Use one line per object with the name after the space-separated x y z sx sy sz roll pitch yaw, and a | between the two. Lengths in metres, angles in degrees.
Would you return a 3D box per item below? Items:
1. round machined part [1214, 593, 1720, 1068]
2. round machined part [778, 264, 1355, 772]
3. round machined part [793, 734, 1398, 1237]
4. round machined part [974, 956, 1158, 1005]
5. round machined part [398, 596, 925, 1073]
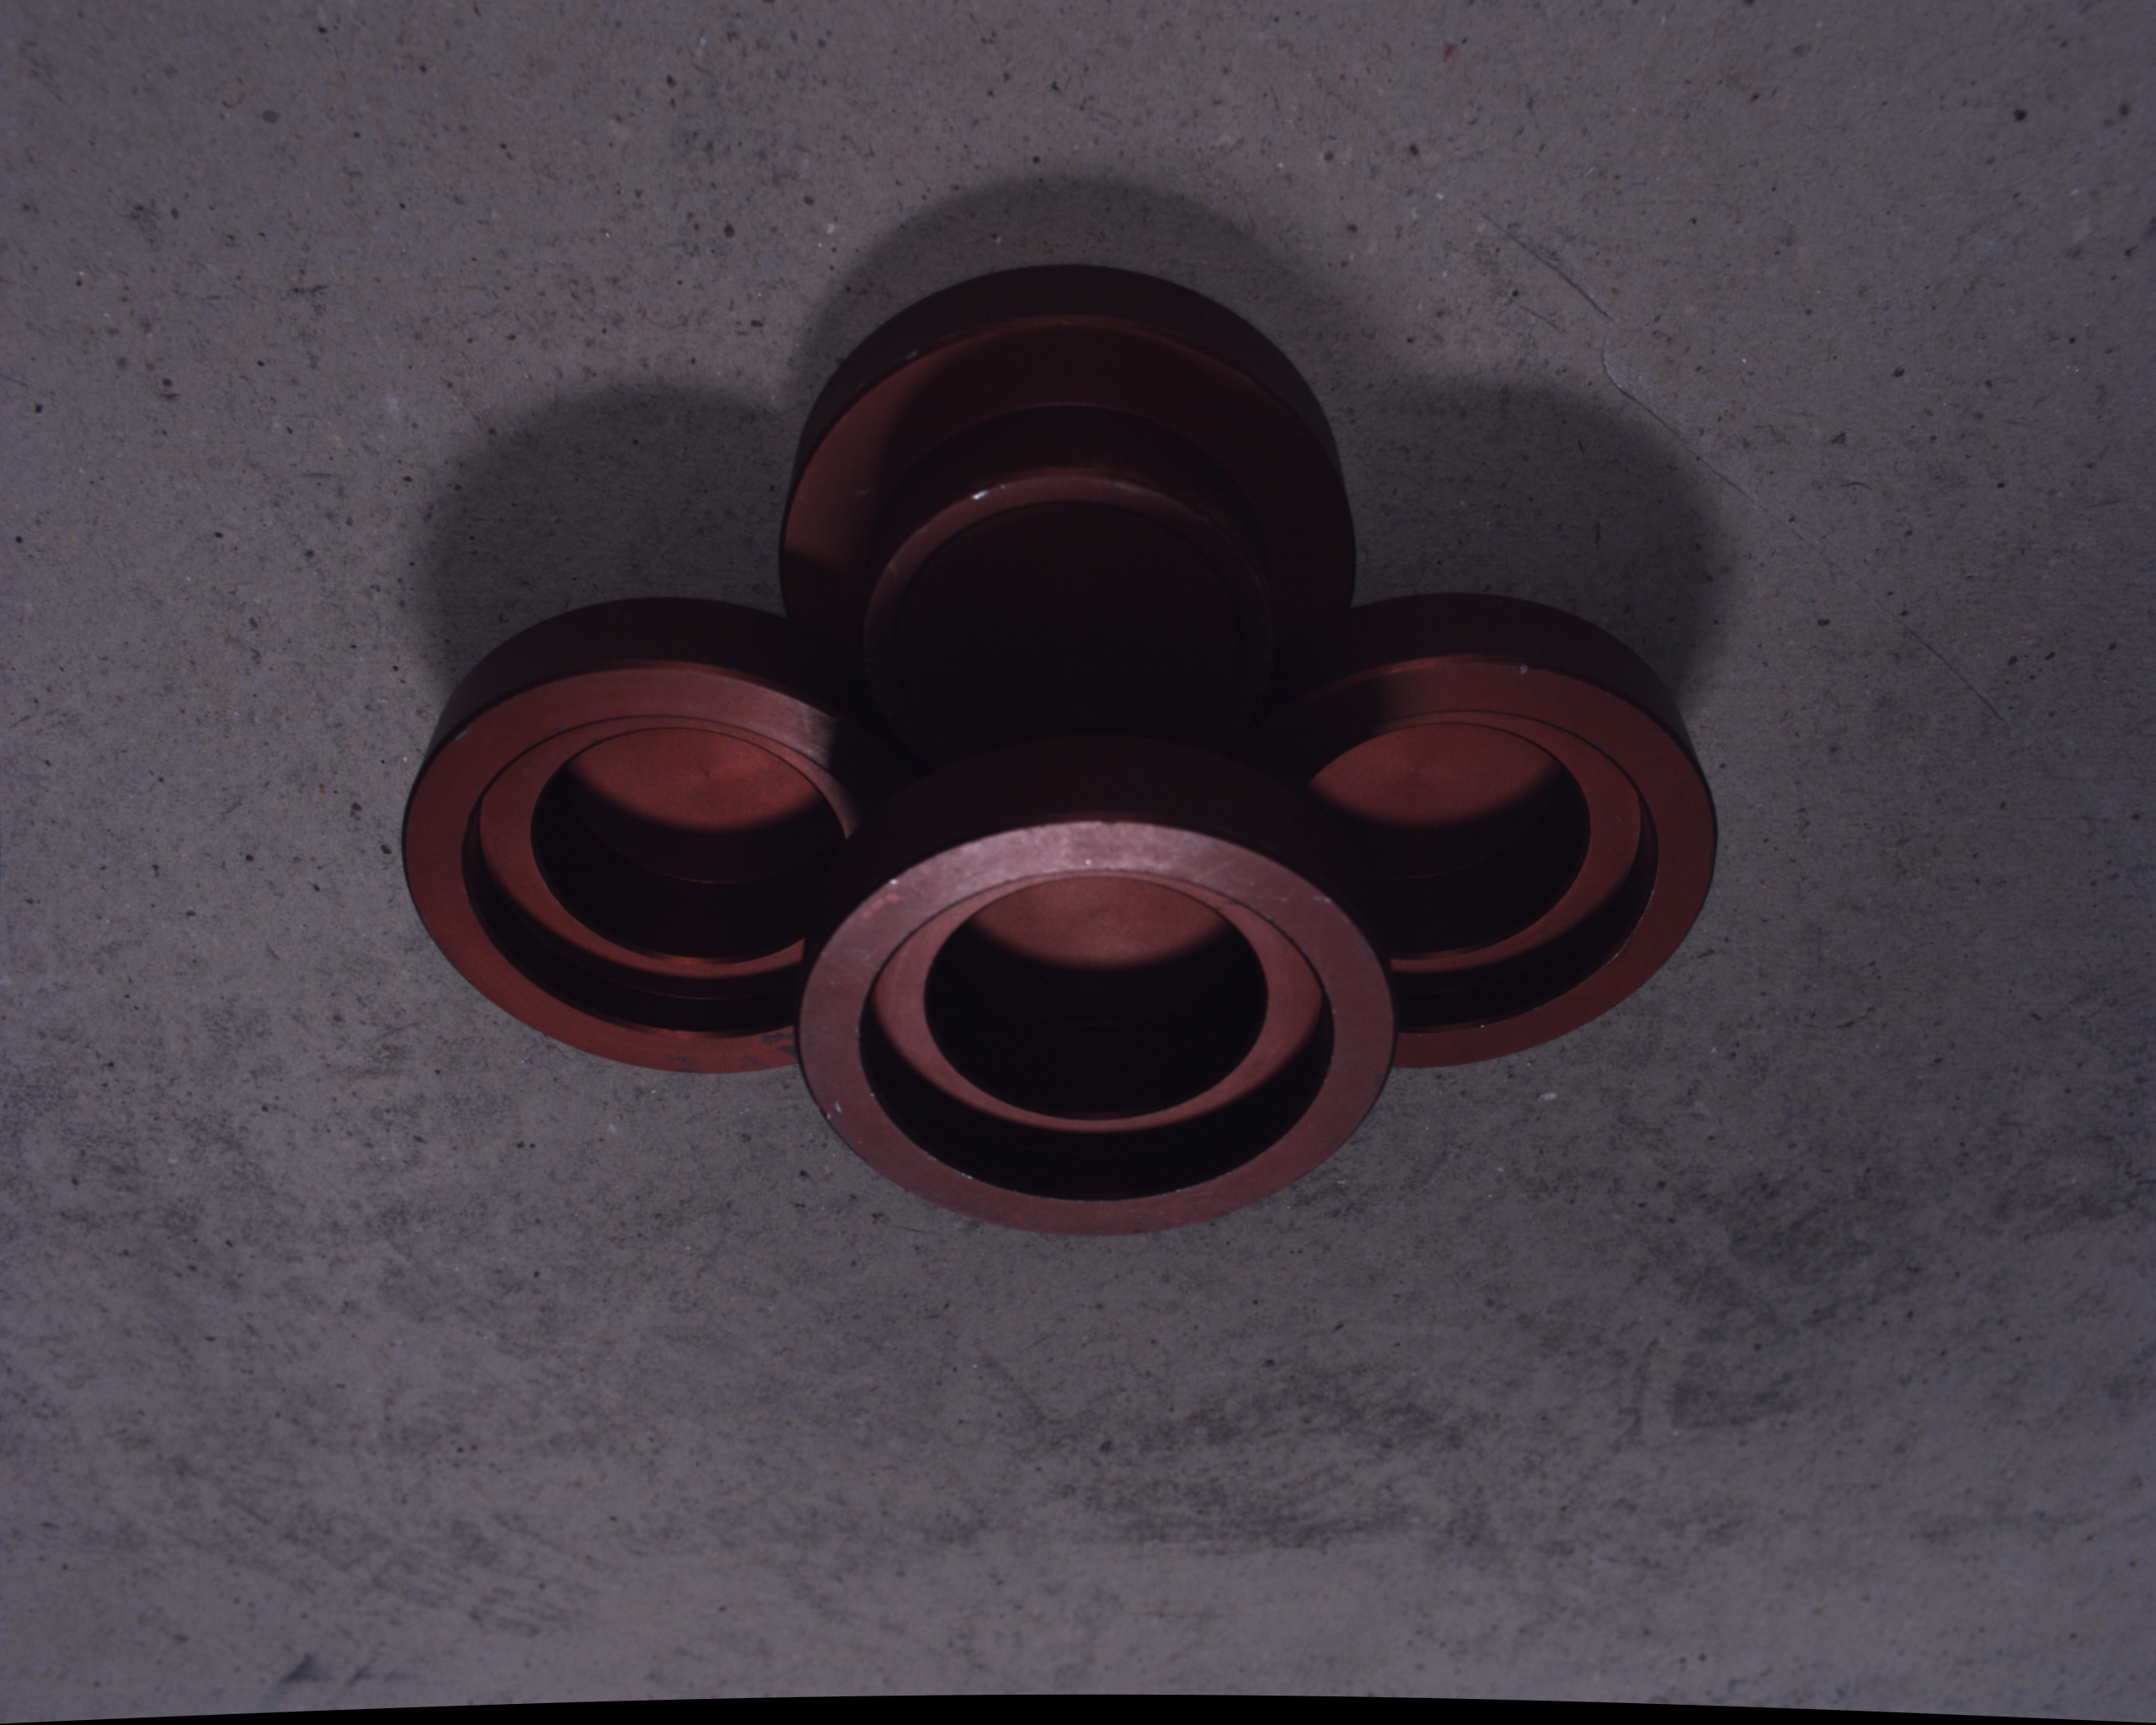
0.065 -0.010 0.390 0.099 0.042 0.097 -1 130 0 | round machined part
-0.002 -0.048 0.357 0.099 0.042 0.097 -1 130 0 | round machined part
0.003 0.017 0.356 0.099 0.042 0.097 -1 131 0 | round machined part
-0.003 0.027 0.421 0.099 0.042 0.097 -1 130 0 | round machined part
-0.071 -0.009 0.389 0.099 0.042 0.097 -1 130 0 | round machined part
